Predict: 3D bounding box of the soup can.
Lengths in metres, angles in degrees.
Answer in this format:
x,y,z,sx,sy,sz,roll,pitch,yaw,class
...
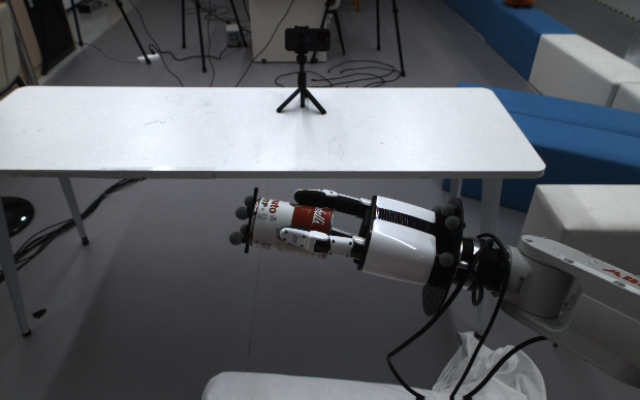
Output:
x,y,z,sx,sy,sz,roll,pitch,yaw,class
-0.034,0.038,0.641,0.101,0.067,0.067,10,35,0,soup can
